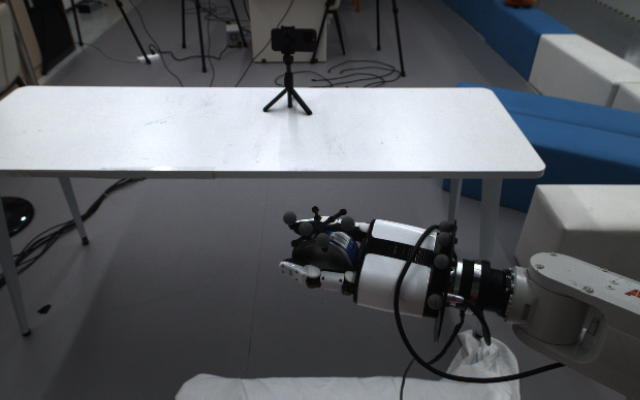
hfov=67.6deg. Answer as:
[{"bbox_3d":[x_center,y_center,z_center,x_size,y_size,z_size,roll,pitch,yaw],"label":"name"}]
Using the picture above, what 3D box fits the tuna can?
[{"bbox_3d":[0.011,0.072,0.639,0.085,0.085,0.034,14,41,16],"label":"tuna can"}]
